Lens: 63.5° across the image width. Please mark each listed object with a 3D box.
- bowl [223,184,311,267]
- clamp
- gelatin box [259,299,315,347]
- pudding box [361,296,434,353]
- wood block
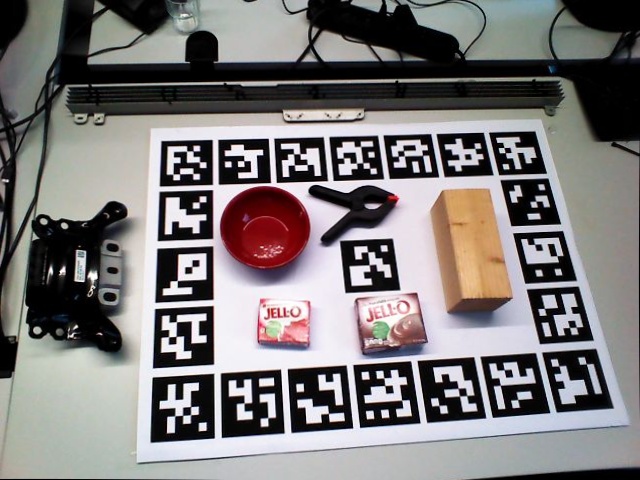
[{"bbox_3d":[-0.091,-0.019,0.932,0.162,0.055,0.161,2,71,-5],"label":"bowl"},{"bbox_3d":[0.066,-0.059,0.971,0.165,0.037,0.121,-12,69,-11],"label":"clamp"},{"bbox_3d":[-0.056,0.140,0.876,0.089,0.030,0.073,6,70,-2],"label":"gelatin box"},{"bbox_3d":[0.131,0.145,0.886,0.114,0.039,0.089,-3,73,-3],"label":"pudding box"},{"bbox_3d":[0.283,0.022,0.917,0.090,0.091,0.205,1,68,-5],"label":"wood block"}]
